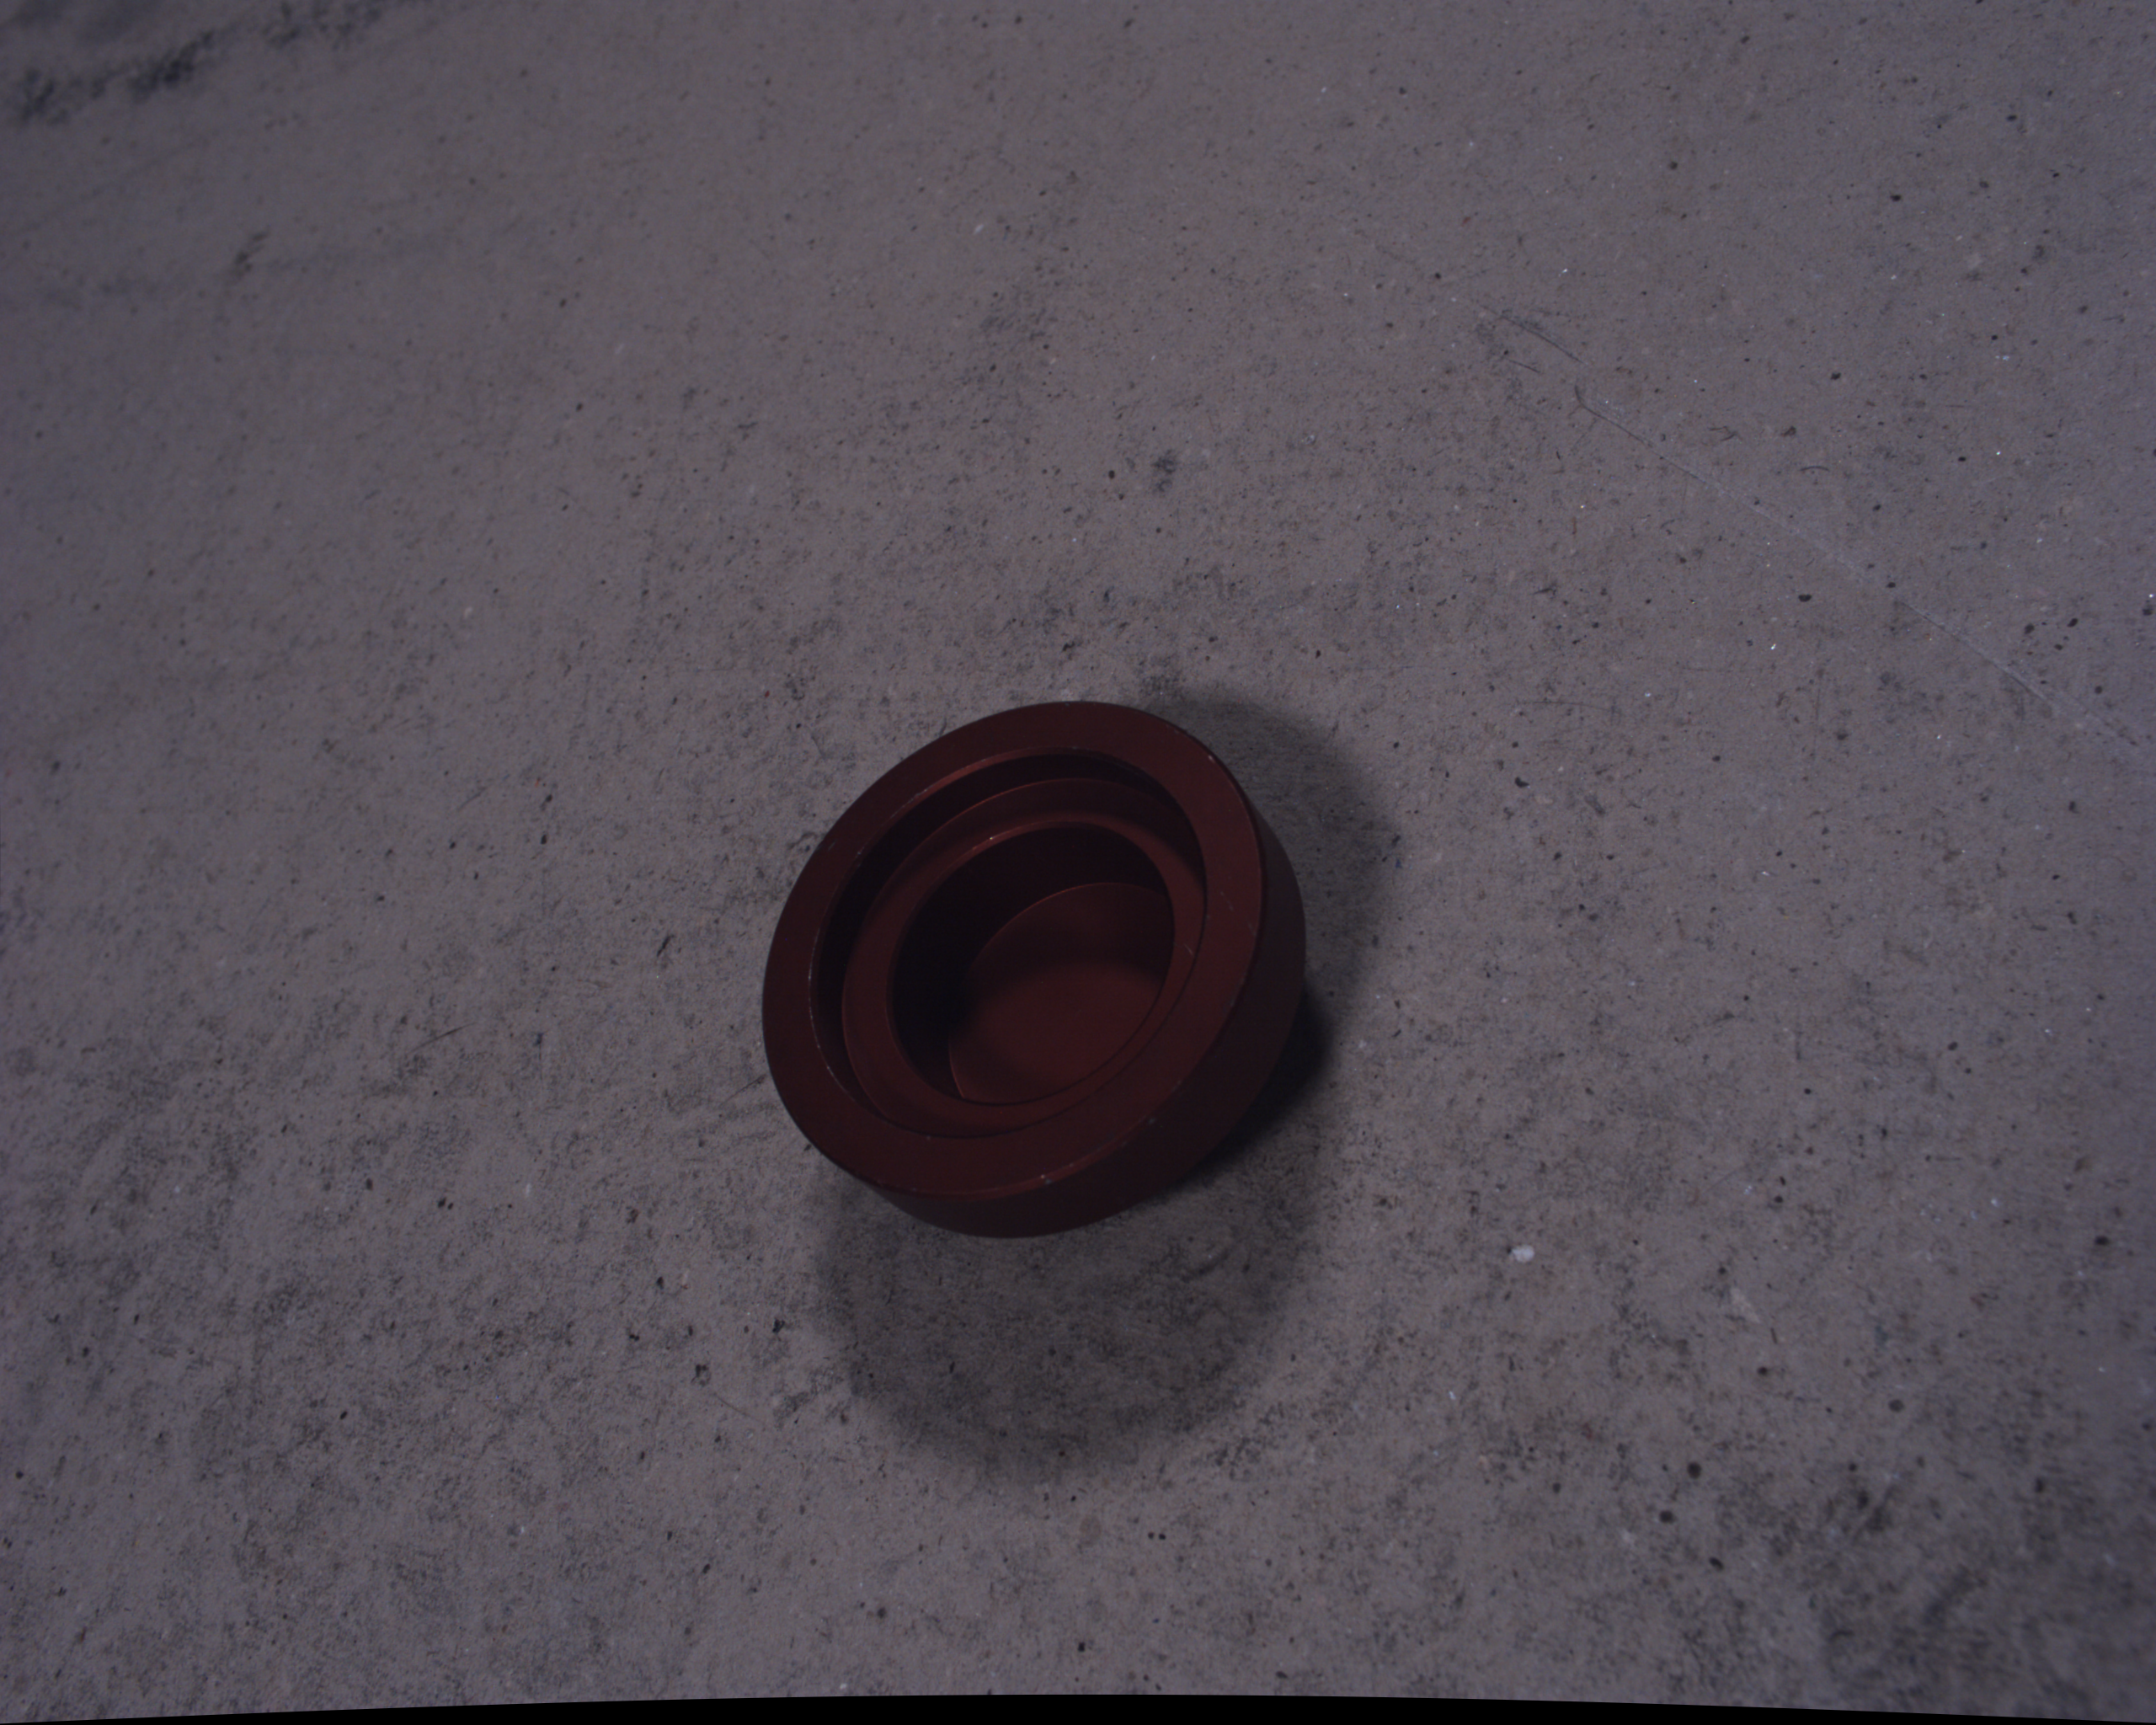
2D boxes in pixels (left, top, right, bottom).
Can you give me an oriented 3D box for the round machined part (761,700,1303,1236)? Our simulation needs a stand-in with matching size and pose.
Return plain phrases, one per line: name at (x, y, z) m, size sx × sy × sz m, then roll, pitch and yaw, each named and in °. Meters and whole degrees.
round machined part at (-0.005, 0.022, 0.382) m, size 0.098 × 0.042 × 0.098 m, roll -13°, pitch 56°, yaw 20°
